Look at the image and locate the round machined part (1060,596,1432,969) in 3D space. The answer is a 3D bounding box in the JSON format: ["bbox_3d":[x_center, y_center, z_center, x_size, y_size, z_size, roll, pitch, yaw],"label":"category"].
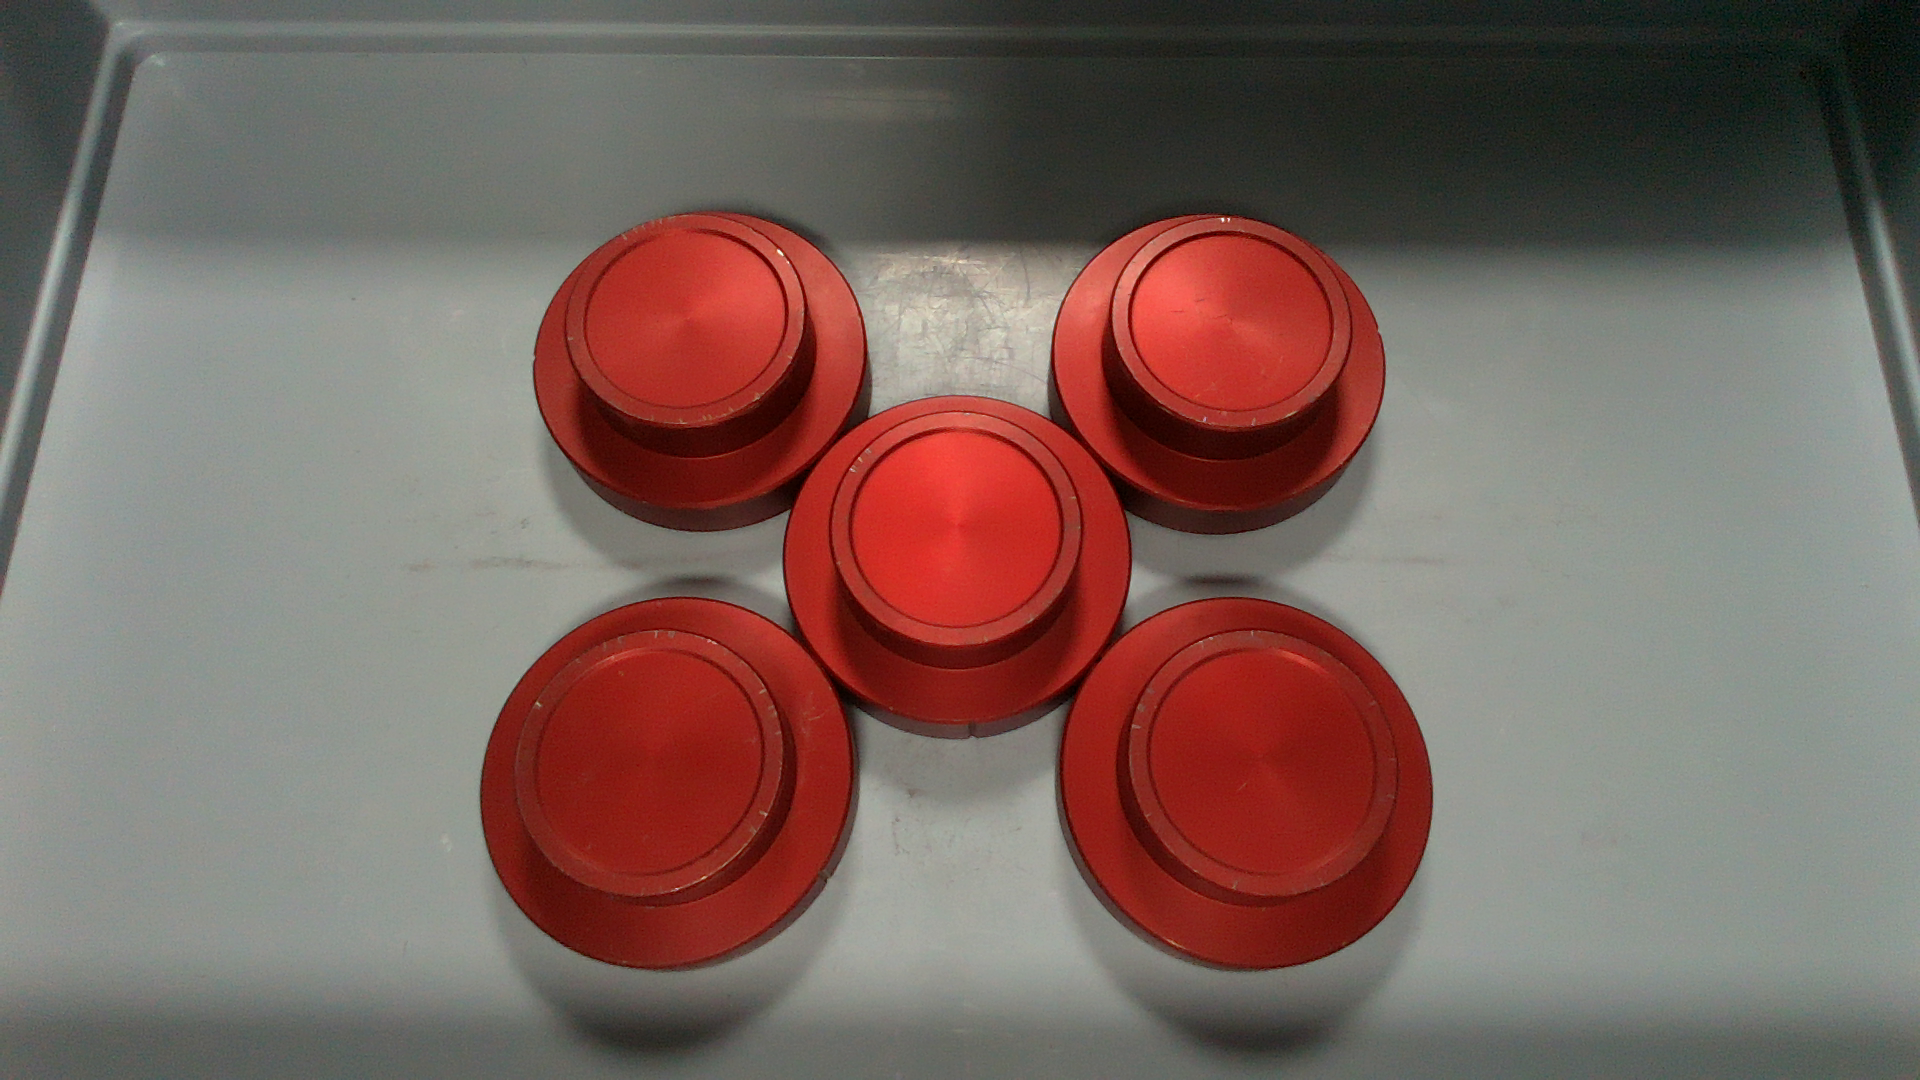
[{"bbox_3d":[0.075,0.061,0.362,0.098,0.042,0.098,0,70,0],"label":"round machined part"}]

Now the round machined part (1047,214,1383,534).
[{"bbox_3d":[0.076,-0.054,0.405,0.098,0.042,0.098,0,70,0],"label":"round machined part"}]

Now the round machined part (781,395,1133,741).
[{"bbox_3d":[-0.001,0.003,0.383,0.098,0.042,0.098,0,70,0],"label":"round machined part"}]

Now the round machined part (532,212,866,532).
[{"bbox_3d":[-0.077,-0.055,0.405,0.098,0.042,0.098,0,70,0],"label":"round machined part"}]

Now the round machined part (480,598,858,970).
[{"bbox_3d":[-0.077,0.062,0.362,0.098,0.042,0.098,0,70,0],"label":"round machined part"}]
